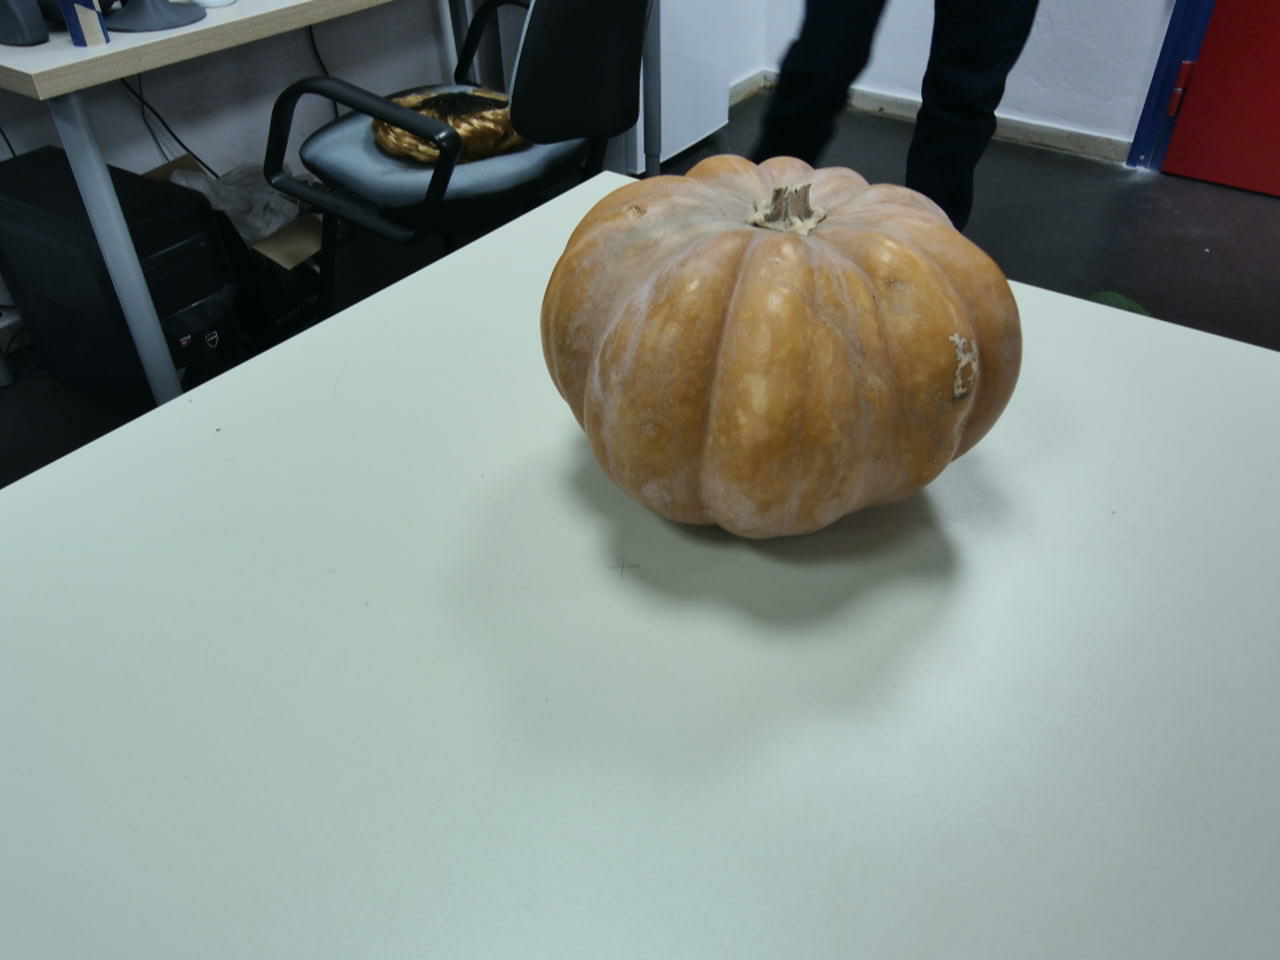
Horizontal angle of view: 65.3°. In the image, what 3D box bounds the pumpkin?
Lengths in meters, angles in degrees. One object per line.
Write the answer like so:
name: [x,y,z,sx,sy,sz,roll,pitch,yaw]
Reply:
pumpkin: [0.074,-0.084,0.583,0.277,0.181,0.277,0,38,0]
